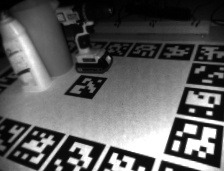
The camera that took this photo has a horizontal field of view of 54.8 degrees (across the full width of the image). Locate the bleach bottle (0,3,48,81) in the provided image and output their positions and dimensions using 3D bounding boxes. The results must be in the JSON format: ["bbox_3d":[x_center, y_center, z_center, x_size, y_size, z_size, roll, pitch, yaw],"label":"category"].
[{"bbox_3d":[-0.292,-0.129,0.649,0.101,0.253,0.068,1,43,22],"label":"bleach bottle"}]

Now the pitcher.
[{"bbox_3d":[-0.235,-0.179,0.721,0.188,0.245,0.132,-12,41,7],"label":"pitcher"}]

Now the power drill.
[{"bbox_3d":[-0.077,-0.165,0.666,0.183,0.188,0.057,7,48,18],"label":"power drill"}]
